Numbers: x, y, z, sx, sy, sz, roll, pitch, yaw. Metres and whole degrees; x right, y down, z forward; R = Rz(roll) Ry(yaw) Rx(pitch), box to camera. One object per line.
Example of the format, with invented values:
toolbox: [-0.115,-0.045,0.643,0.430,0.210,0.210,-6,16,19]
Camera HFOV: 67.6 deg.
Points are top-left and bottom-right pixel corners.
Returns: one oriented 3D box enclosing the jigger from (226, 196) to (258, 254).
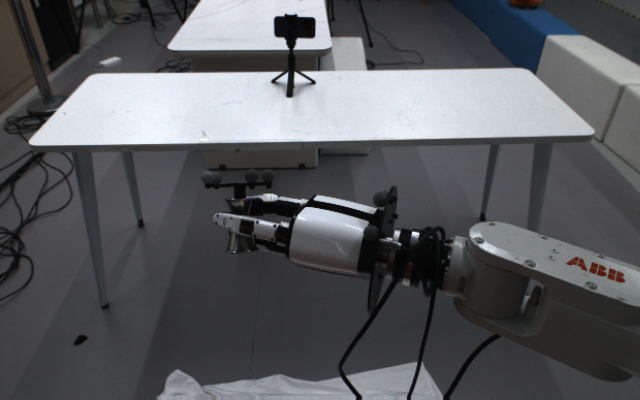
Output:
jigger: [-0.102,0.031,0.622,0.043,0.071,0.043,-2,3,0]
